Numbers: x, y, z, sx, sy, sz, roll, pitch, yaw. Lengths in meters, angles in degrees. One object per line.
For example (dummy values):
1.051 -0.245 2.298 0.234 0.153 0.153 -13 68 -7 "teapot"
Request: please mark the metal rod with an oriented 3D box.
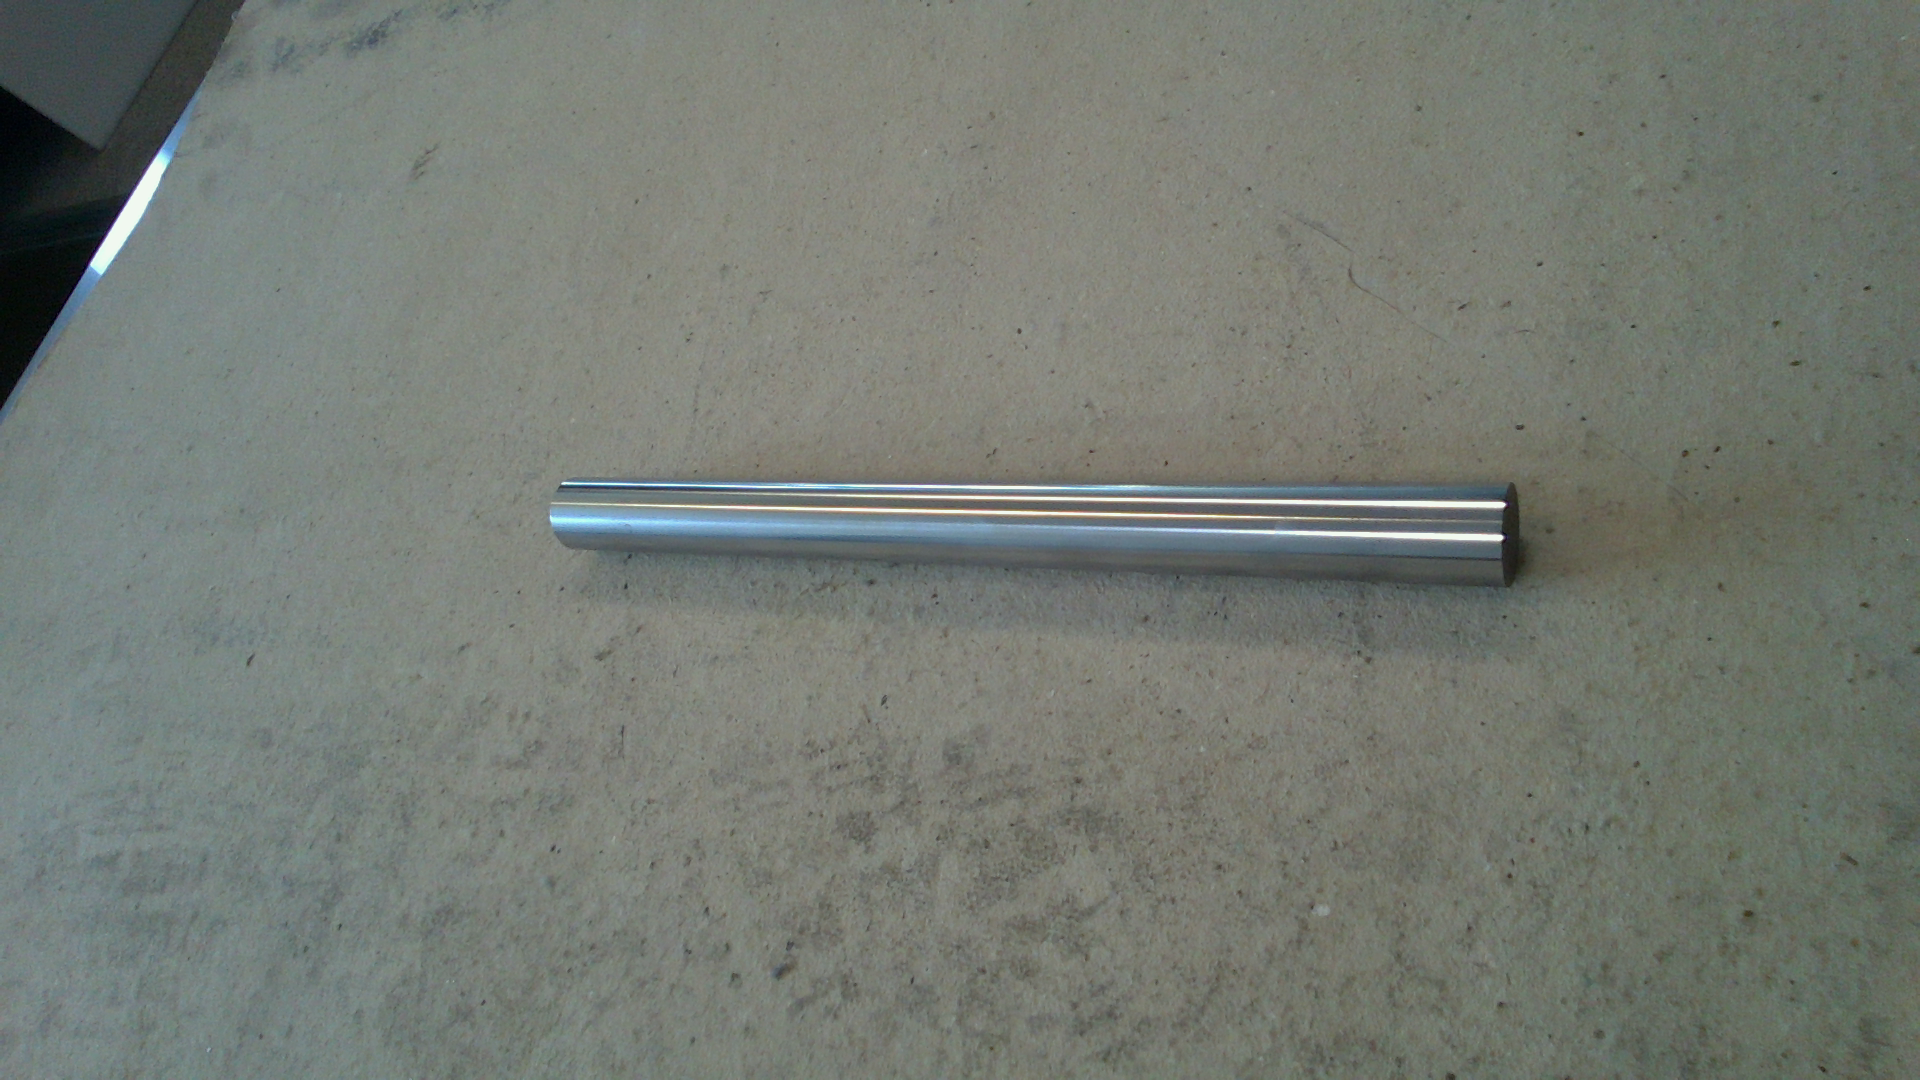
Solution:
-0.002 -0.005 0.398 0.299 0.025 0.025 2 62 29 "metal rod"
